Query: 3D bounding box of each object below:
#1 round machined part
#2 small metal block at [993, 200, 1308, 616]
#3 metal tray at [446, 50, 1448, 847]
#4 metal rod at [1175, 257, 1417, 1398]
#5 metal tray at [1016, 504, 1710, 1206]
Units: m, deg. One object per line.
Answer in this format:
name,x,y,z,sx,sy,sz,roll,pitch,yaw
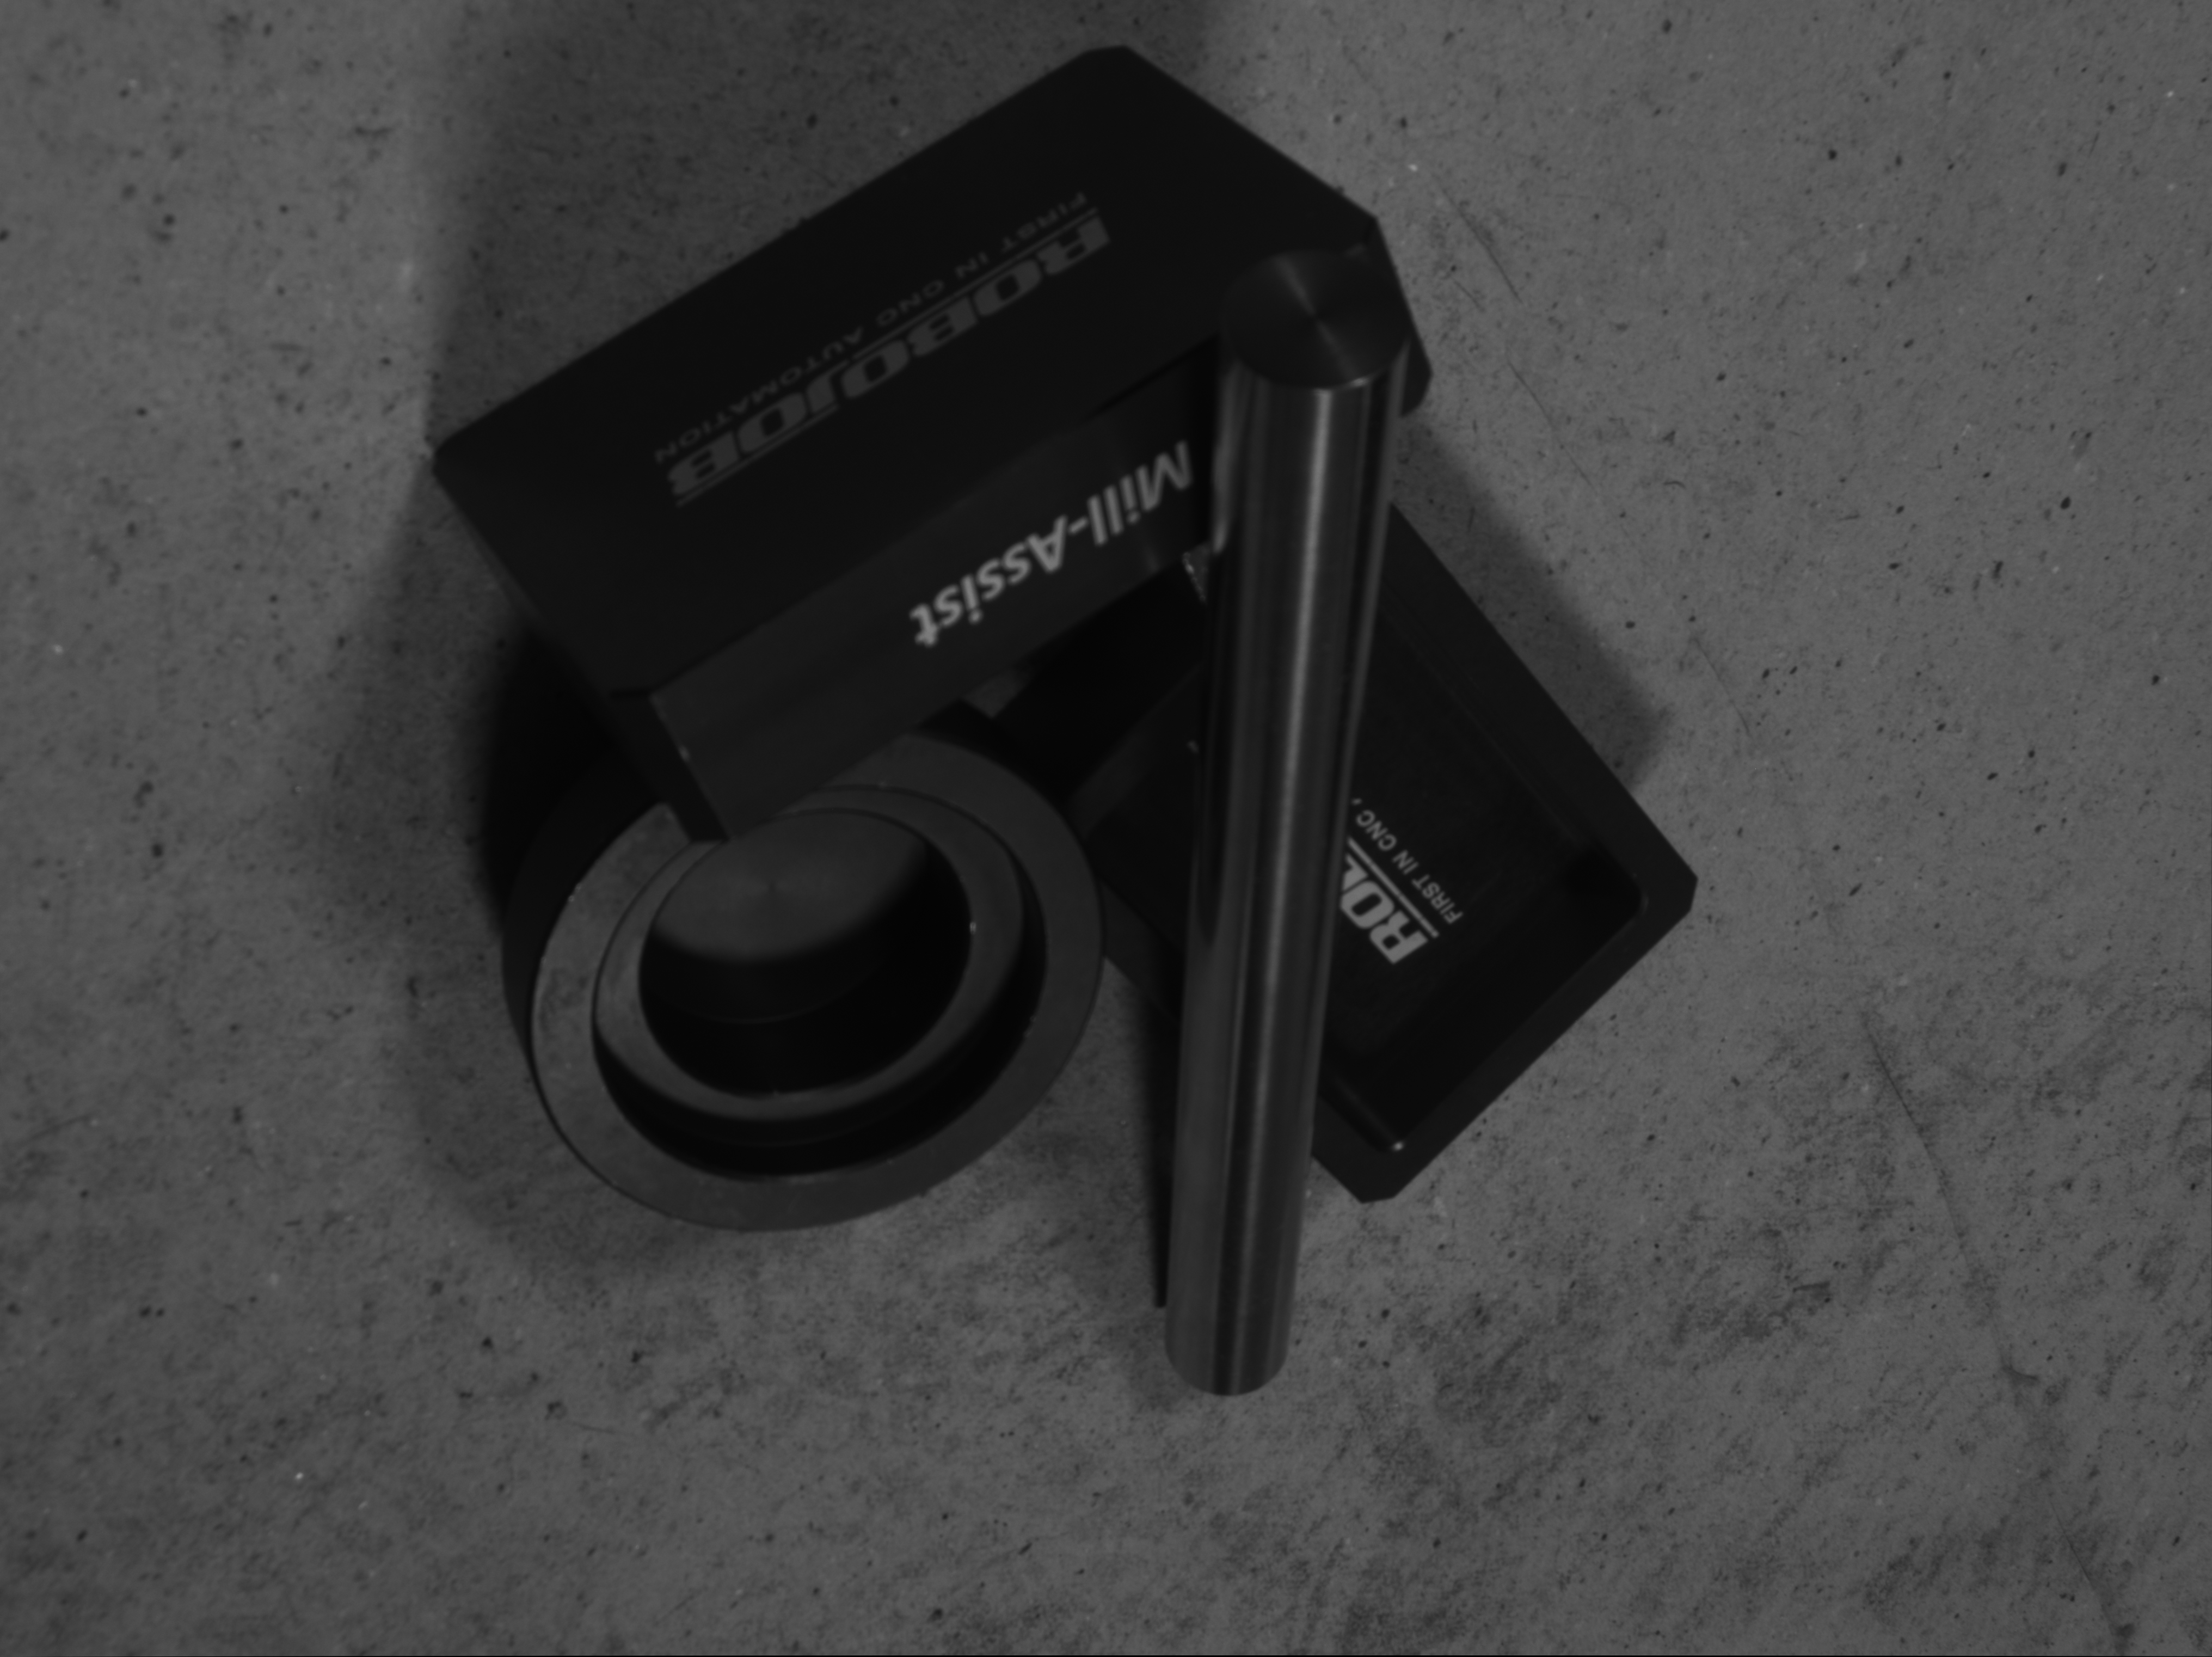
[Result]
round machined part,-0.051,0.017,0.615,0.098,0.042,0.098,-11,125,-16
small metal block,0.011,-0.065,0.594,0.025,0.050,0.050,-35,144,-4
metal tray,-0.026,-0.061,0.555,0.130,0.090,0.030,-33,130,-9
metal rod,0.027,0.018,0.608,0.025,0.025,0.300,-24,149,-16
metal tray,0.045,0.002,0.676,0.090,0.030,0.130,-44,130,1
